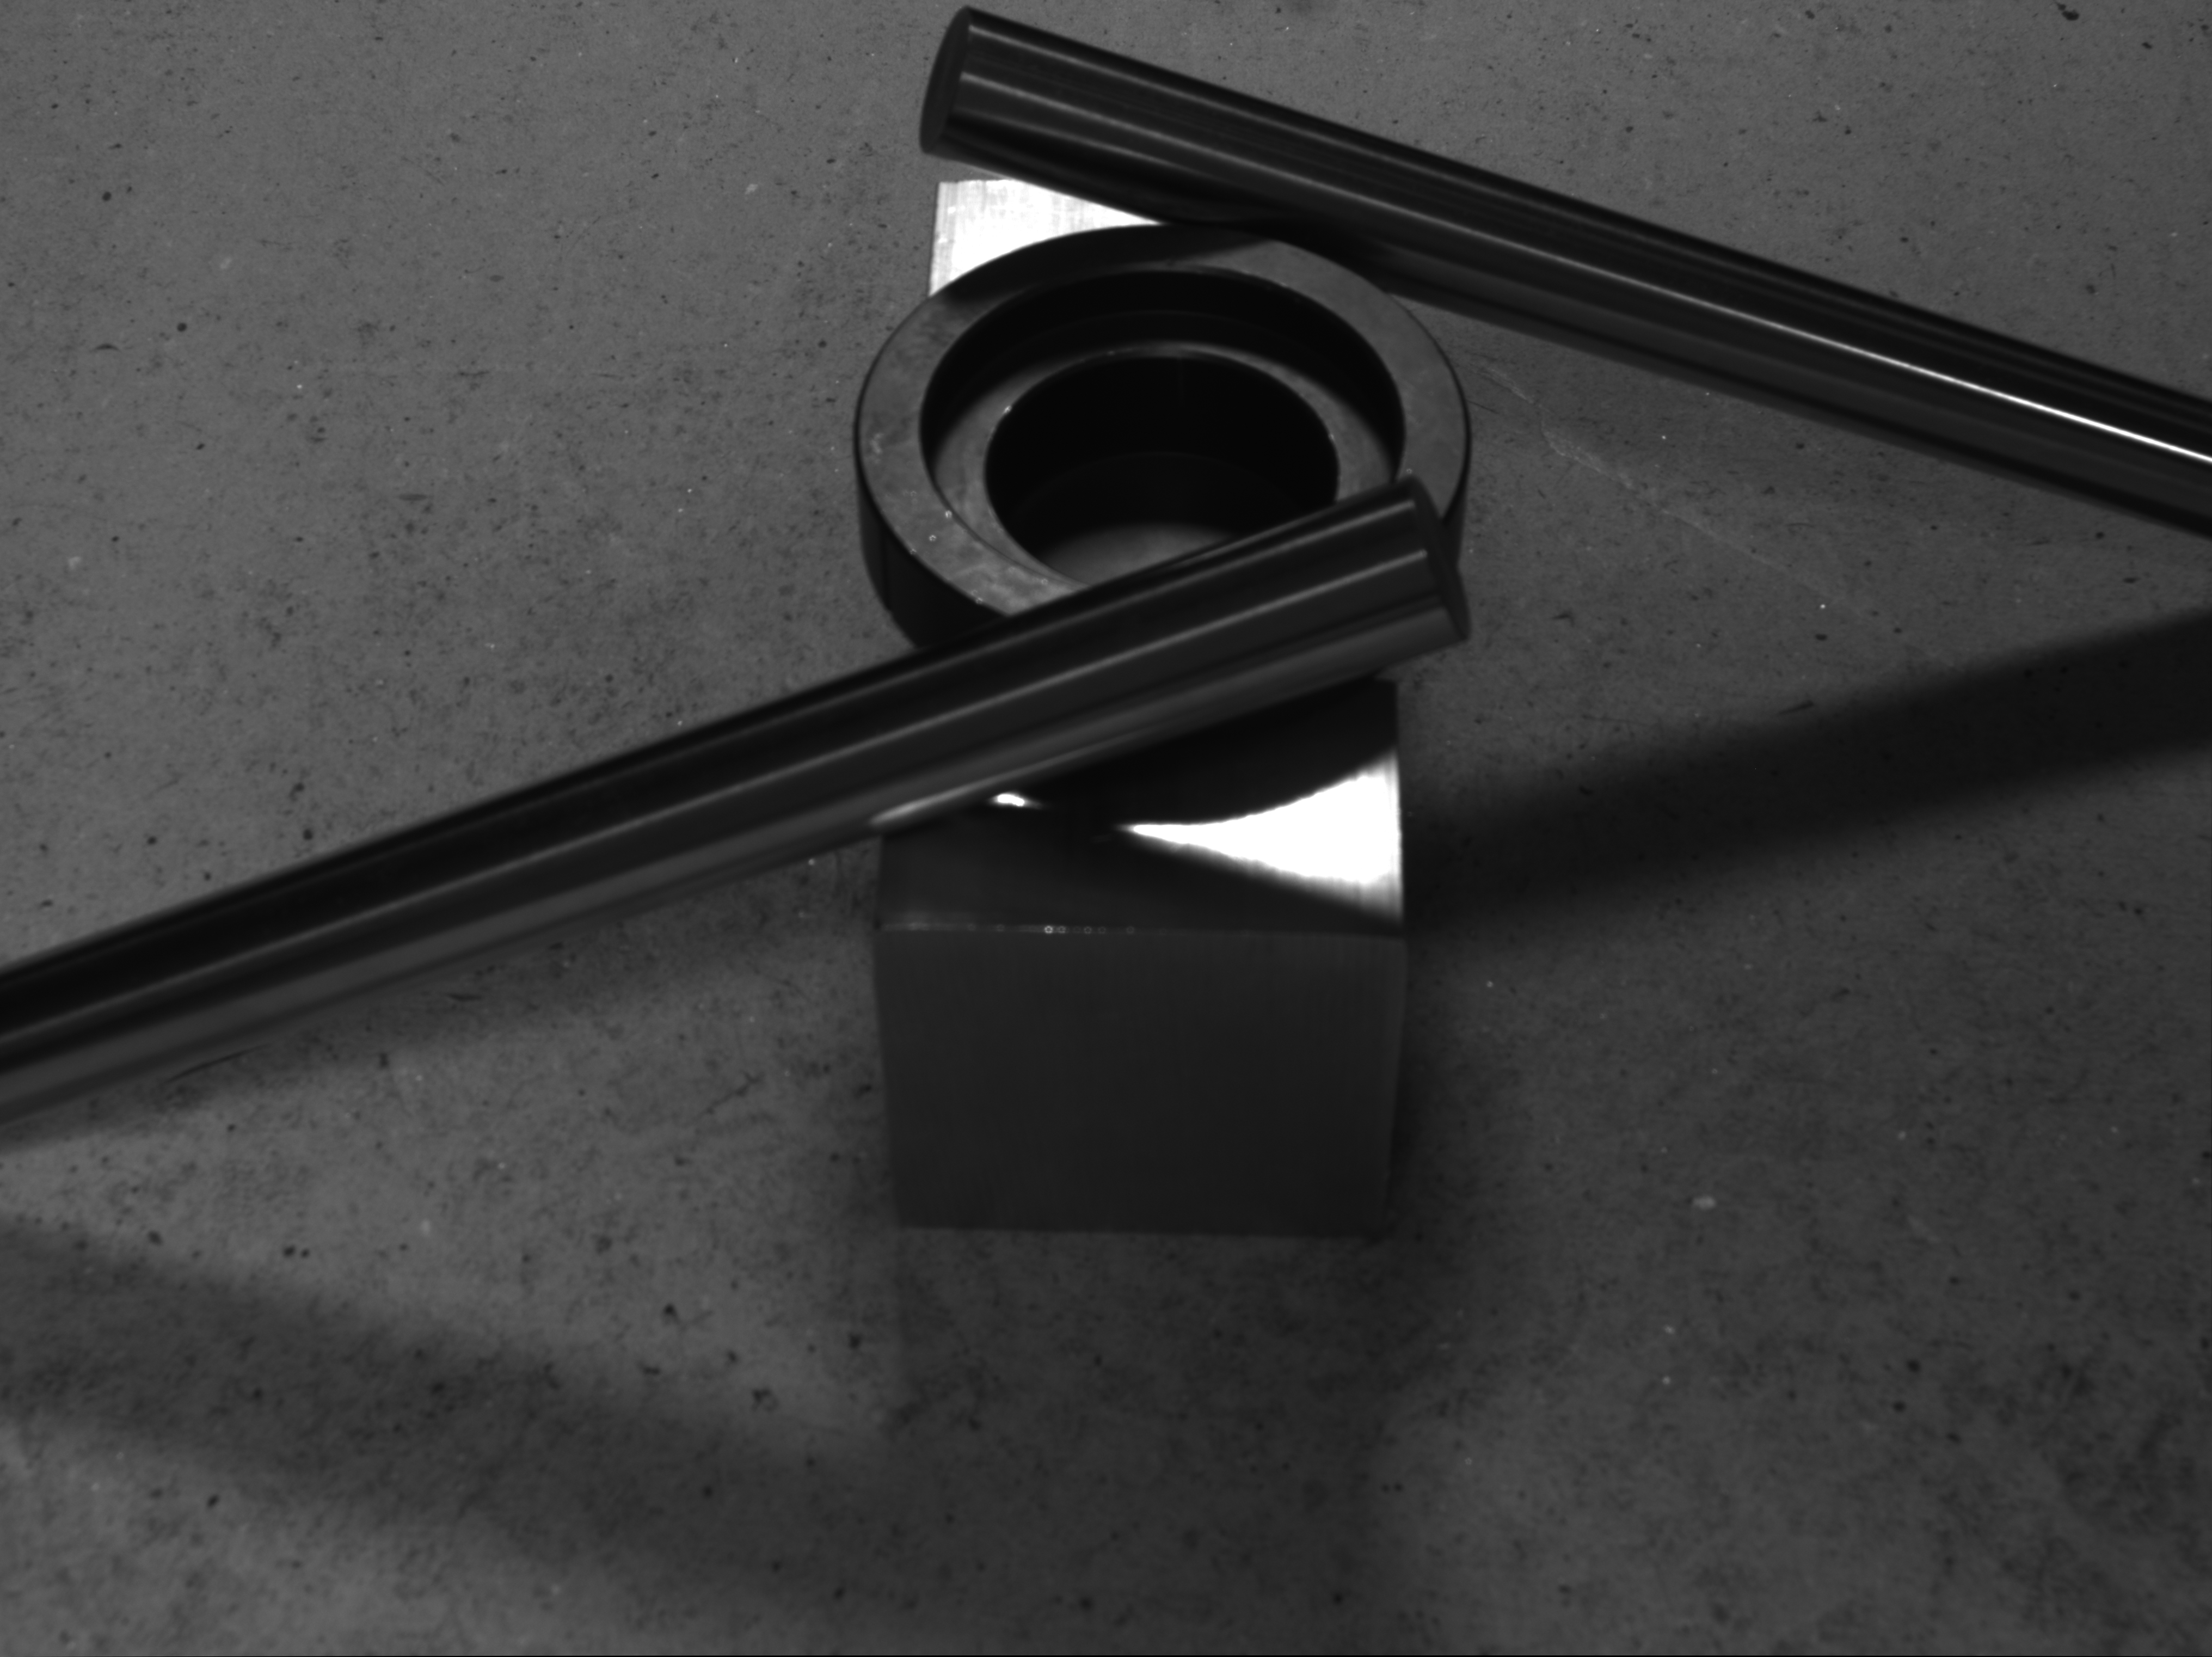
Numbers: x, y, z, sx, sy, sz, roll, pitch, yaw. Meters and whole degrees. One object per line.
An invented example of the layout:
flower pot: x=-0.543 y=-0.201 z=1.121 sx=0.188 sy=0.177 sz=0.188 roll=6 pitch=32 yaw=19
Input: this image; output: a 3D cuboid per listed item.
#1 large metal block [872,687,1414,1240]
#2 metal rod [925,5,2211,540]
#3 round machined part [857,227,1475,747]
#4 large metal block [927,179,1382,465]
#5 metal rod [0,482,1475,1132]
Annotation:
large metal block: x=0.006 y=0.022 z=0.587 sx=0.080 sy=0.080 sz=0.050 roll=1 pitch=50 yaw=1
metal rod: x=0.114 y=-0.089 z=0.647 sx=0.300 sy=0.025 sz=0.025 roll=14 pitch=48 yaw=-17
round machined part: x=0.010 y=-0.050 z=0.597 sx=0.098 sy=0.042 sz=0.098 roll=0 pitch=50 yaw=0
large metal block: x=0.009 y=-0.070 z=0.665 sx=0.080 sy=0.080 sz=0.050 roll=1 pitch=50 yaw=1
metal rod: x=-0.089 y=0.007 z=0.564 sx=0.300 sy=0.025 sz=0.025 roll=-18 pitch=48 yaw=15
